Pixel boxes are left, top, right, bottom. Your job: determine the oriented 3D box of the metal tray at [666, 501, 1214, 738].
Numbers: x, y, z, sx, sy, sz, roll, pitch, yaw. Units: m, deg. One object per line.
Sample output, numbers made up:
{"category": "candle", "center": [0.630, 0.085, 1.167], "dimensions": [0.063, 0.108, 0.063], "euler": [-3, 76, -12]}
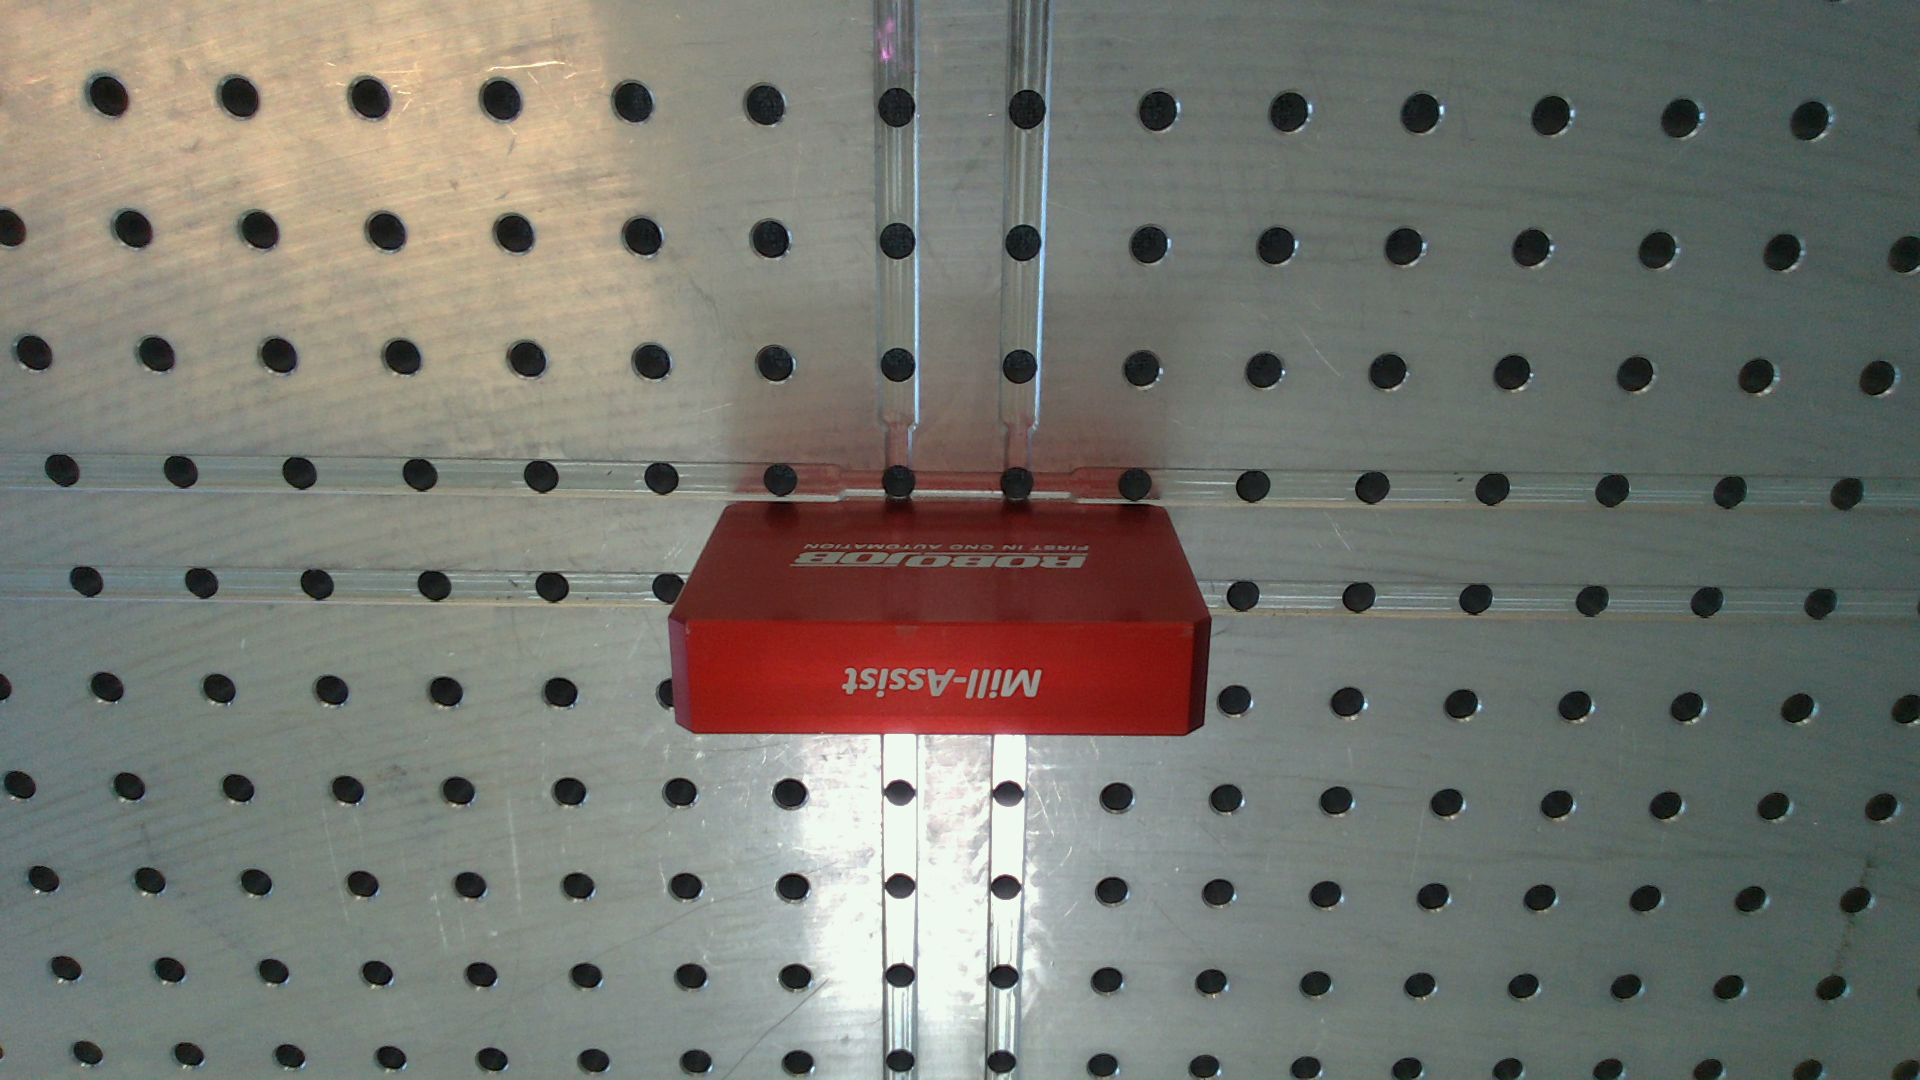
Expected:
{"category": "metal tray", "center": [-0.005, 0.018, 0.368], "dimensions": [0.130, 0.090, 0.030], "euler": [0, 110, 0]}
